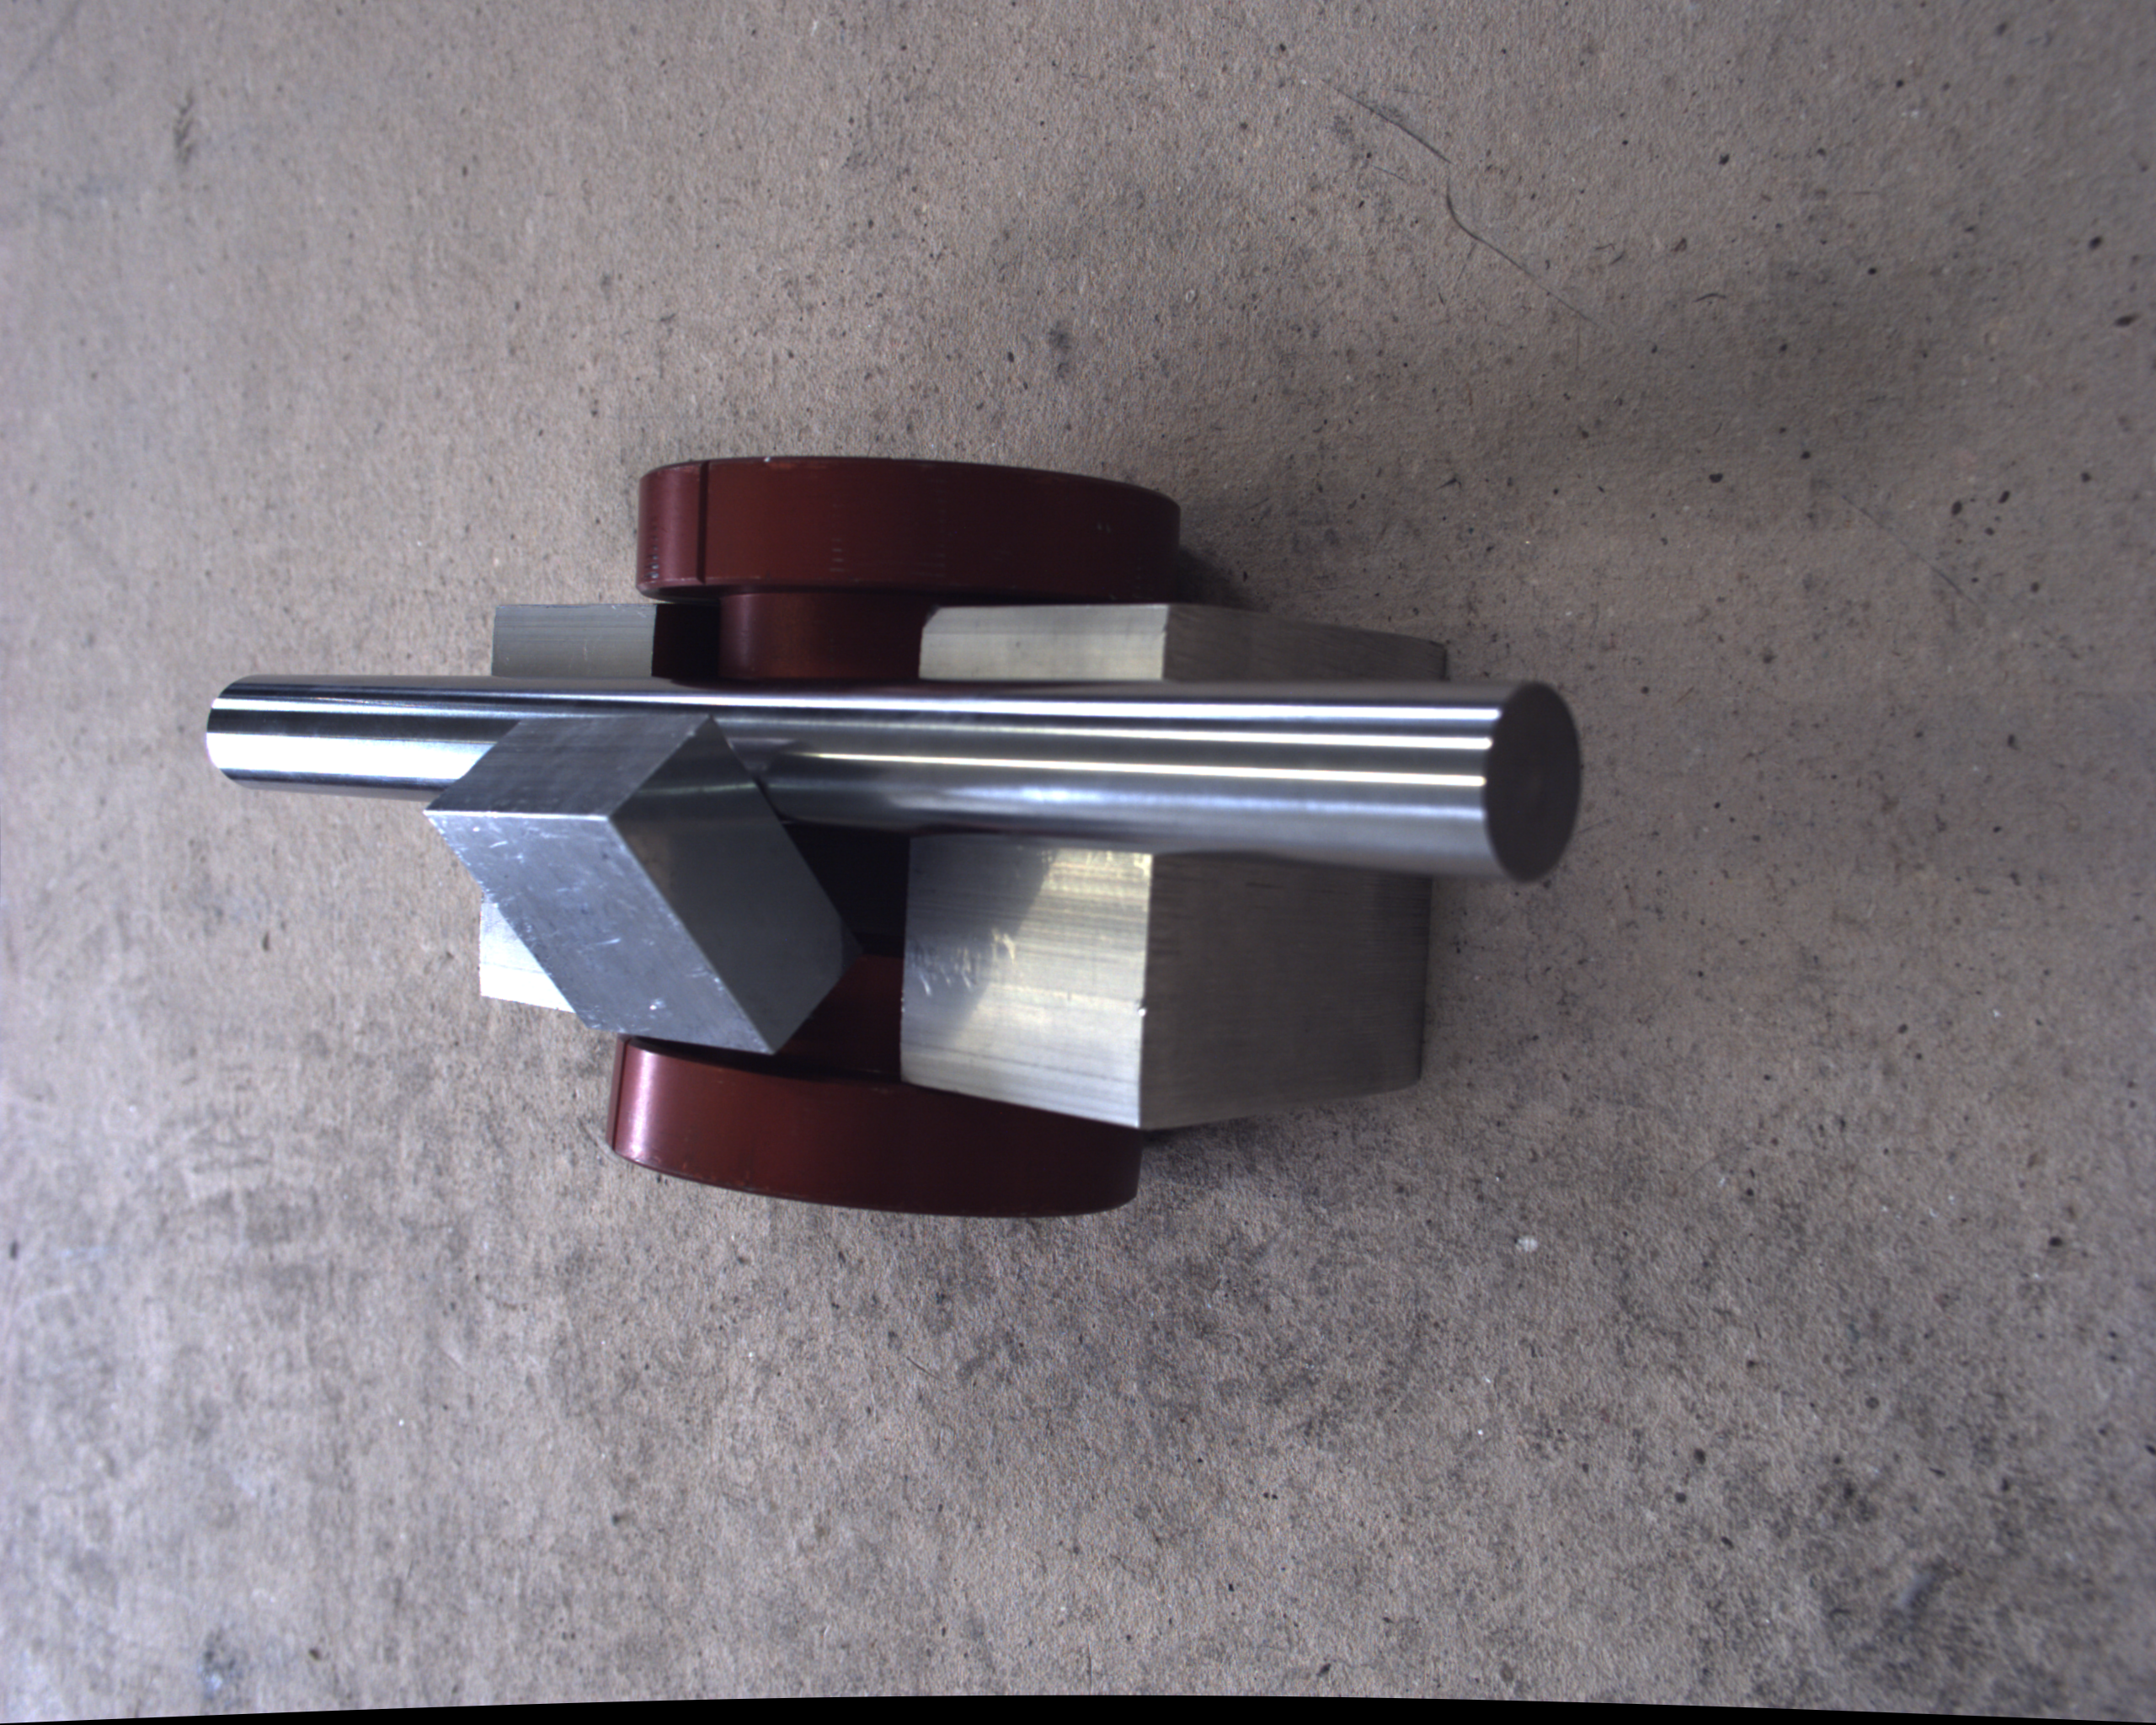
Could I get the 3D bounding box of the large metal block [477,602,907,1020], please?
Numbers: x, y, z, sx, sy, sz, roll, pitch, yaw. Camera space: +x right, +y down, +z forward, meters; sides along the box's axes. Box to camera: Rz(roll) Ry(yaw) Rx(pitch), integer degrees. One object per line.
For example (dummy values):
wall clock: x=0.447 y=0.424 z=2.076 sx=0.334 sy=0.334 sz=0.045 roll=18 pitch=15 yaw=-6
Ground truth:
large metal block: x=-0.073 y=-0.010 z=0.431 sx=0.050 sy=0.081 sz=0.079 roll=6 pitch=94 yaw=40

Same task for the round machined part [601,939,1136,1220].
round machined part: x=-0.036 y=0.036 z=0.388 sx=0.098 sy=0.099 sz=0.042 roll=6 pitch=89 yaw=40

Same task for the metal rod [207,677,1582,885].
metal rod: x=-0.059 y=-0.019 z=0.351 sx=0.300 sy=0.025 sz=0.025 roll=5 pitch=93 yaw=40

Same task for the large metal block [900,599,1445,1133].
large metal block: x=0.018 y=-0.001 z=0.356 sx=0.050 sy=0.081 sz=0.079 roll=5 pitch=93 yaw=40

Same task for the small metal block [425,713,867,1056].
small metal block: x=-0.071 y=0.003 z=0.343 sx=0.050 sy=0.025 sz=0.050 roll=2 pitch=132 yaw=41

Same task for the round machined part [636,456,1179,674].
round machined part: x=-0.031 y=-0.047 z=0.385 sx=0.098 sy=0.099 sz=0.042 roll=5 pitch=94 yaw=40
